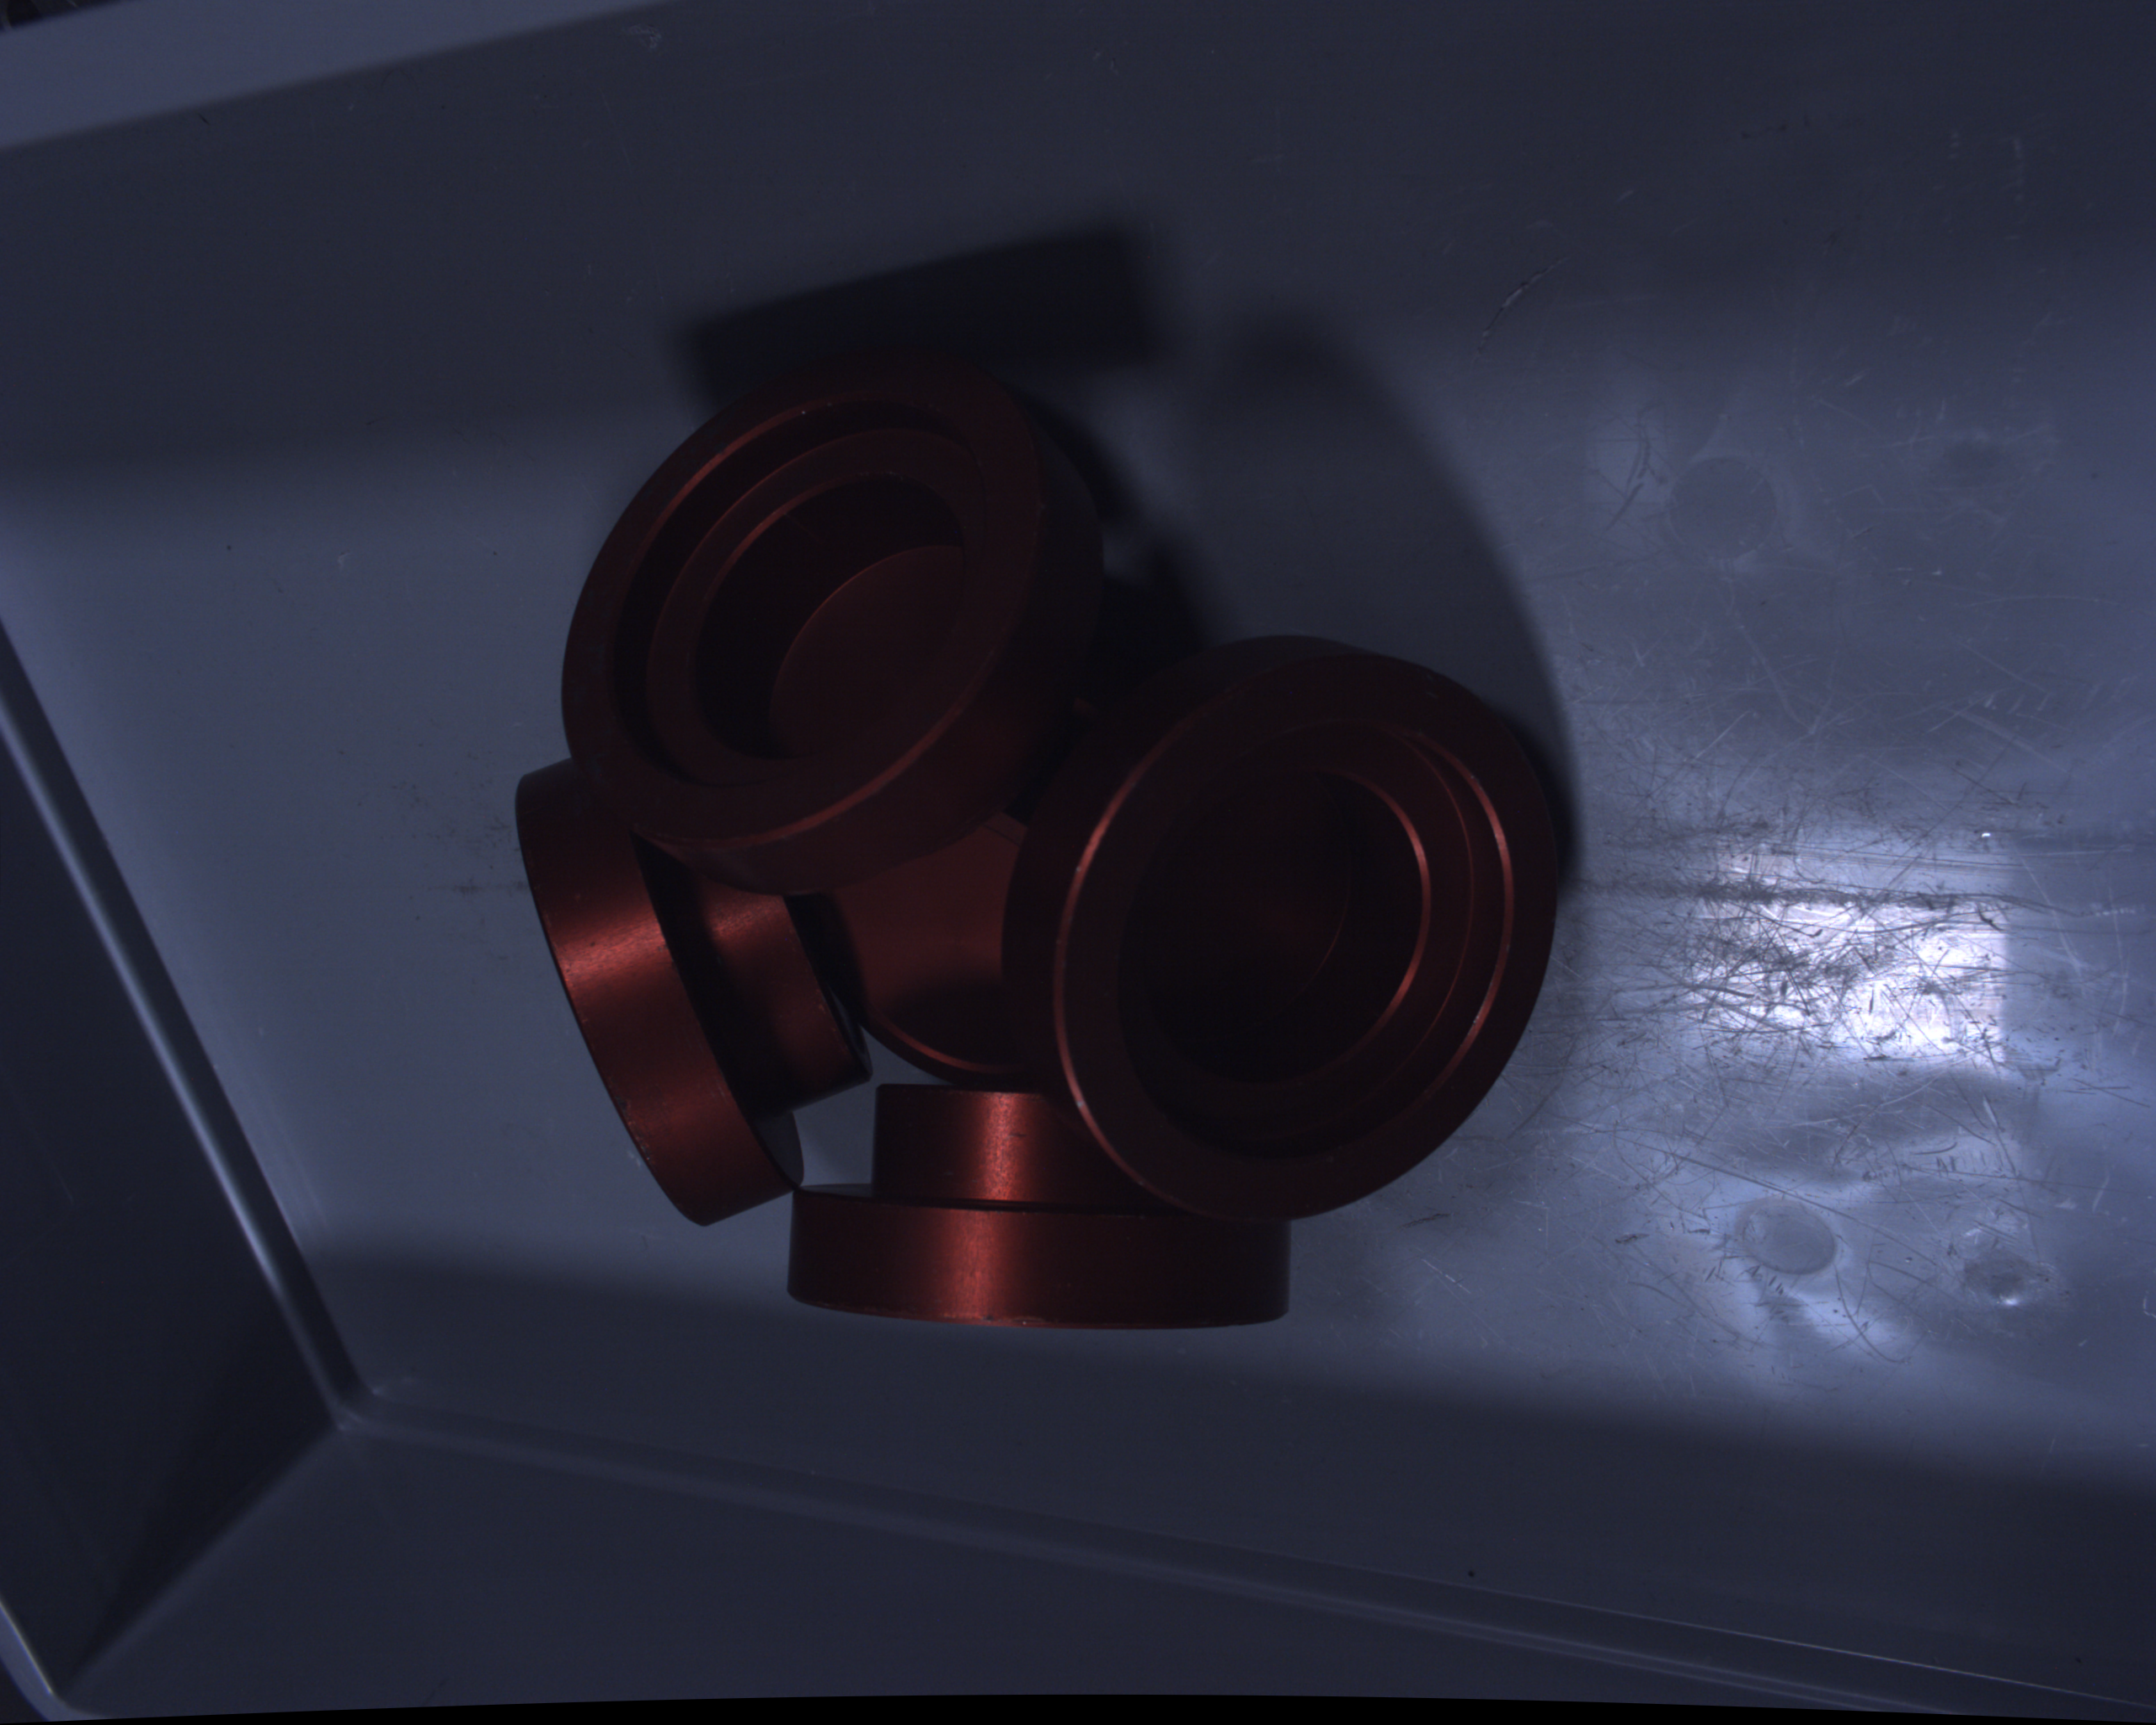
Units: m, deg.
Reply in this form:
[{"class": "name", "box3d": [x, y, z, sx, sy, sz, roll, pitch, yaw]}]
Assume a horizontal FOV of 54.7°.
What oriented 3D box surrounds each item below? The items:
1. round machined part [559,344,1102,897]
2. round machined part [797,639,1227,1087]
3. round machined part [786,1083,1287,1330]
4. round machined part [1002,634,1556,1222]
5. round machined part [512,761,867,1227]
[{"class": "round machined part", "box3d": [-0.039, -0.038, 0.367, 0.098, 0.098, 0.042, -4, 154, 29]}, {"class": "round machined part", "box3d": [-0.015, 0.005, 0.404, 0.098, 0.042, 0.097, 13, 124, 20]}, {"class": "round machined part", "box3d": [-0.007, 0.066, 0.415, 0.098, 0.098, 0.042, -1, 82, 28]}, {"class": "round machined part", "box3d": [0.031, 0.009, 0.361, 0.042, 0.099, 0.097, 28, 139, 58]}, {"class": "round machined part", "box3d": [-0.074, 0.021, 0.422, 0.042, 0.098, 0.097, -22, 112, -4]}]
